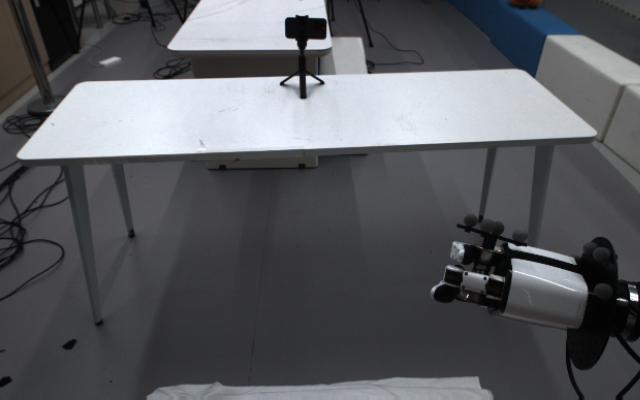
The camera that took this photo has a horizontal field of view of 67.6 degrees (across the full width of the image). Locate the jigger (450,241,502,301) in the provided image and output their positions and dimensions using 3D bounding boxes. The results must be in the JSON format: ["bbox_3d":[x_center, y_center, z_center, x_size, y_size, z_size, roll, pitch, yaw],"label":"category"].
[{"bbox_3d":[0.202,0.092,0.607,0.043,0.071,0.043,17,2,-1],"label":"jigger"}]
